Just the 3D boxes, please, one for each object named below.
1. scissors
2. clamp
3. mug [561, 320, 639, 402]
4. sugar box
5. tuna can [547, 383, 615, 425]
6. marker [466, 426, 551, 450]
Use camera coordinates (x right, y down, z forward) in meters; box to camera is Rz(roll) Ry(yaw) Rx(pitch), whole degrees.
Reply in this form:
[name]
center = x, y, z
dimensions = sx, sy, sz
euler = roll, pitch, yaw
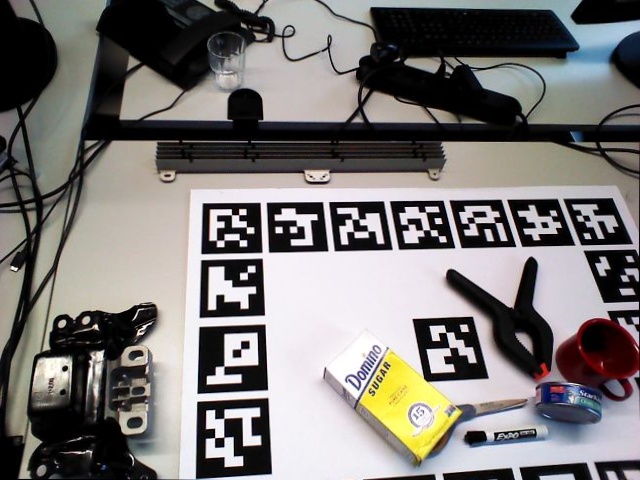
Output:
[scissors]
center = 0.216, 0.243, 0.742
dimensions = 0.202, 0.016, 0.087
euler = -10, 58, -13
[clamp]
center = 0.322, 0.124, 0.825
dimensions = 0.165, 0.037, 0.202
euler = -10, 63, -12
[mug]
center = 0.422, 0.187, 0.765
dimensions = 0.093, 0.082, 0.117
euler = -26, 63, -19
[sugar box]
center = 0.110, 0.217, 0.728
dimensions = 0.092, 0.045, 0.176
euler = -35, 64, -23
[tuna can]
center = 0.367, 0.232, 0.728
dimensions = 0.086, 0.086, 0.033
euler = 14, 60, 2
[marker]
center = 0.265, 0.279, 0.729
dimensions = 0.121, 0.020, 0.019
euler = -4, 62, -8
